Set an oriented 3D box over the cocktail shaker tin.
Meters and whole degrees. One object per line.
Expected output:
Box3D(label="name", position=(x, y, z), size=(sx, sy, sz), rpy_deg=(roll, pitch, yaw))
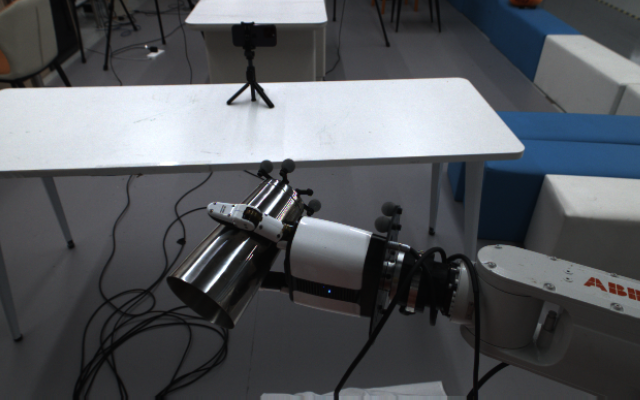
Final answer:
Box3D(label="cocktail shaker tin", position=(-0.088, 0.051, 0.571), size=(0.093, 0.093, 0.170), rpy_deg=(19, 54, 23))
